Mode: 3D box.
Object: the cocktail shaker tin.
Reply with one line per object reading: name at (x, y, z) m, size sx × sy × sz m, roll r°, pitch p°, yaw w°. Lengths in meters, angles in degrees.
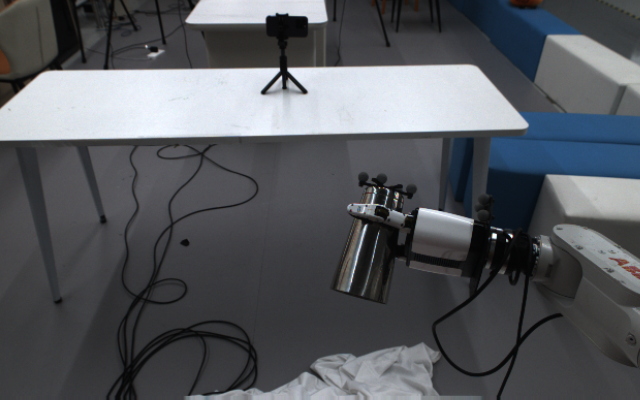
cocktail shaker tin at (0.083, 0.066, 0.763) m, size 0.093 × 0.093 × 0.170 m, roll 13°, pitch 77°, yaw 15°
